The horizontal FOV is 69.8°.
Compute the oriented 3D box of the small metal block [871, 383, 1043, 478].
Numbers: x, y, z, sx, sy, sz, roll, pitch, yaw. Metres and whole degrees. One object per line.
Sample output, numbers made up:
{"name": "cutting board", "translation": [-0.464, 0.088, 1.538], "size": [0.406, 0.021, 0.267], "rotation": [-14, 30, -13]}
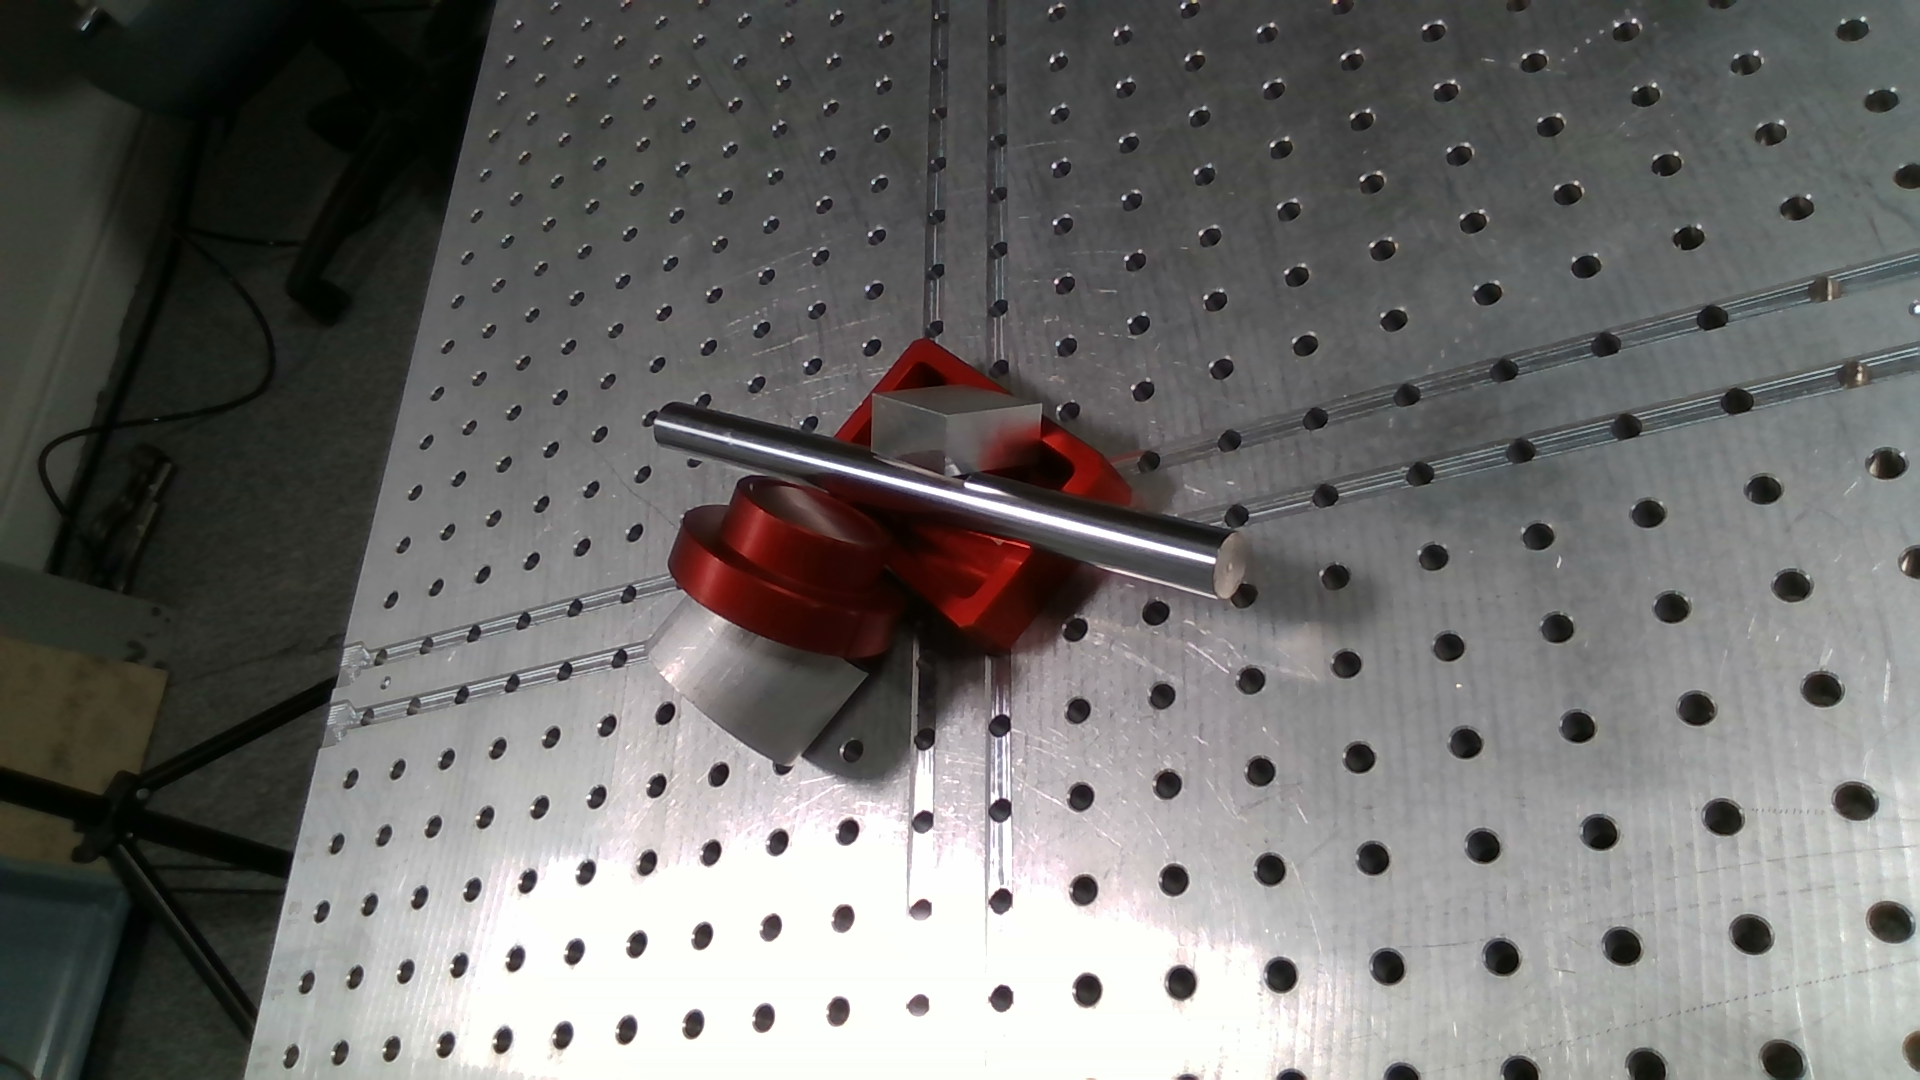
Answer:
{"name": "small metal block", "translation": [-0.002, -0.046, 0.570], "size": [0.050, 0.050, 0.025], "rotation": [21, 116, 47]}

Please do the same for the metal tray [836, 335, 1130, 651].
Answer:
{"name": "metal tray", "translation": [-0.001, -0.023, 0.598], "size": [0.090, 0.030, 0.130], "rotation": [-50, 51, -1]}

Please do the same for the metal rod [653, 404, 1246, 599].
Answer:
{"name": "metal rod", "translation": [-0.021, -0.023, 0.575], "size": [0.300, 0.025, 0.025], "rotation": [15, 74, 36]}

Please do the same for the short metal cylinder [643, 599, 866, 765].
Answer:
{"name": "short metal cylinder", "translation": [-0.086, 0.049, 0.578], "size": [0.050, 0.080, 0.080], "rotation": [-51, 51, -1]}

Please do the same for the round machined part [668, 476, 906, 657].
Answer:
{"name": "round machined part", "translation": [-0.067, 0.006, 0.566], "size": [0.098, 0.098, 0.042], "rotation": [35, 108, 39]}
